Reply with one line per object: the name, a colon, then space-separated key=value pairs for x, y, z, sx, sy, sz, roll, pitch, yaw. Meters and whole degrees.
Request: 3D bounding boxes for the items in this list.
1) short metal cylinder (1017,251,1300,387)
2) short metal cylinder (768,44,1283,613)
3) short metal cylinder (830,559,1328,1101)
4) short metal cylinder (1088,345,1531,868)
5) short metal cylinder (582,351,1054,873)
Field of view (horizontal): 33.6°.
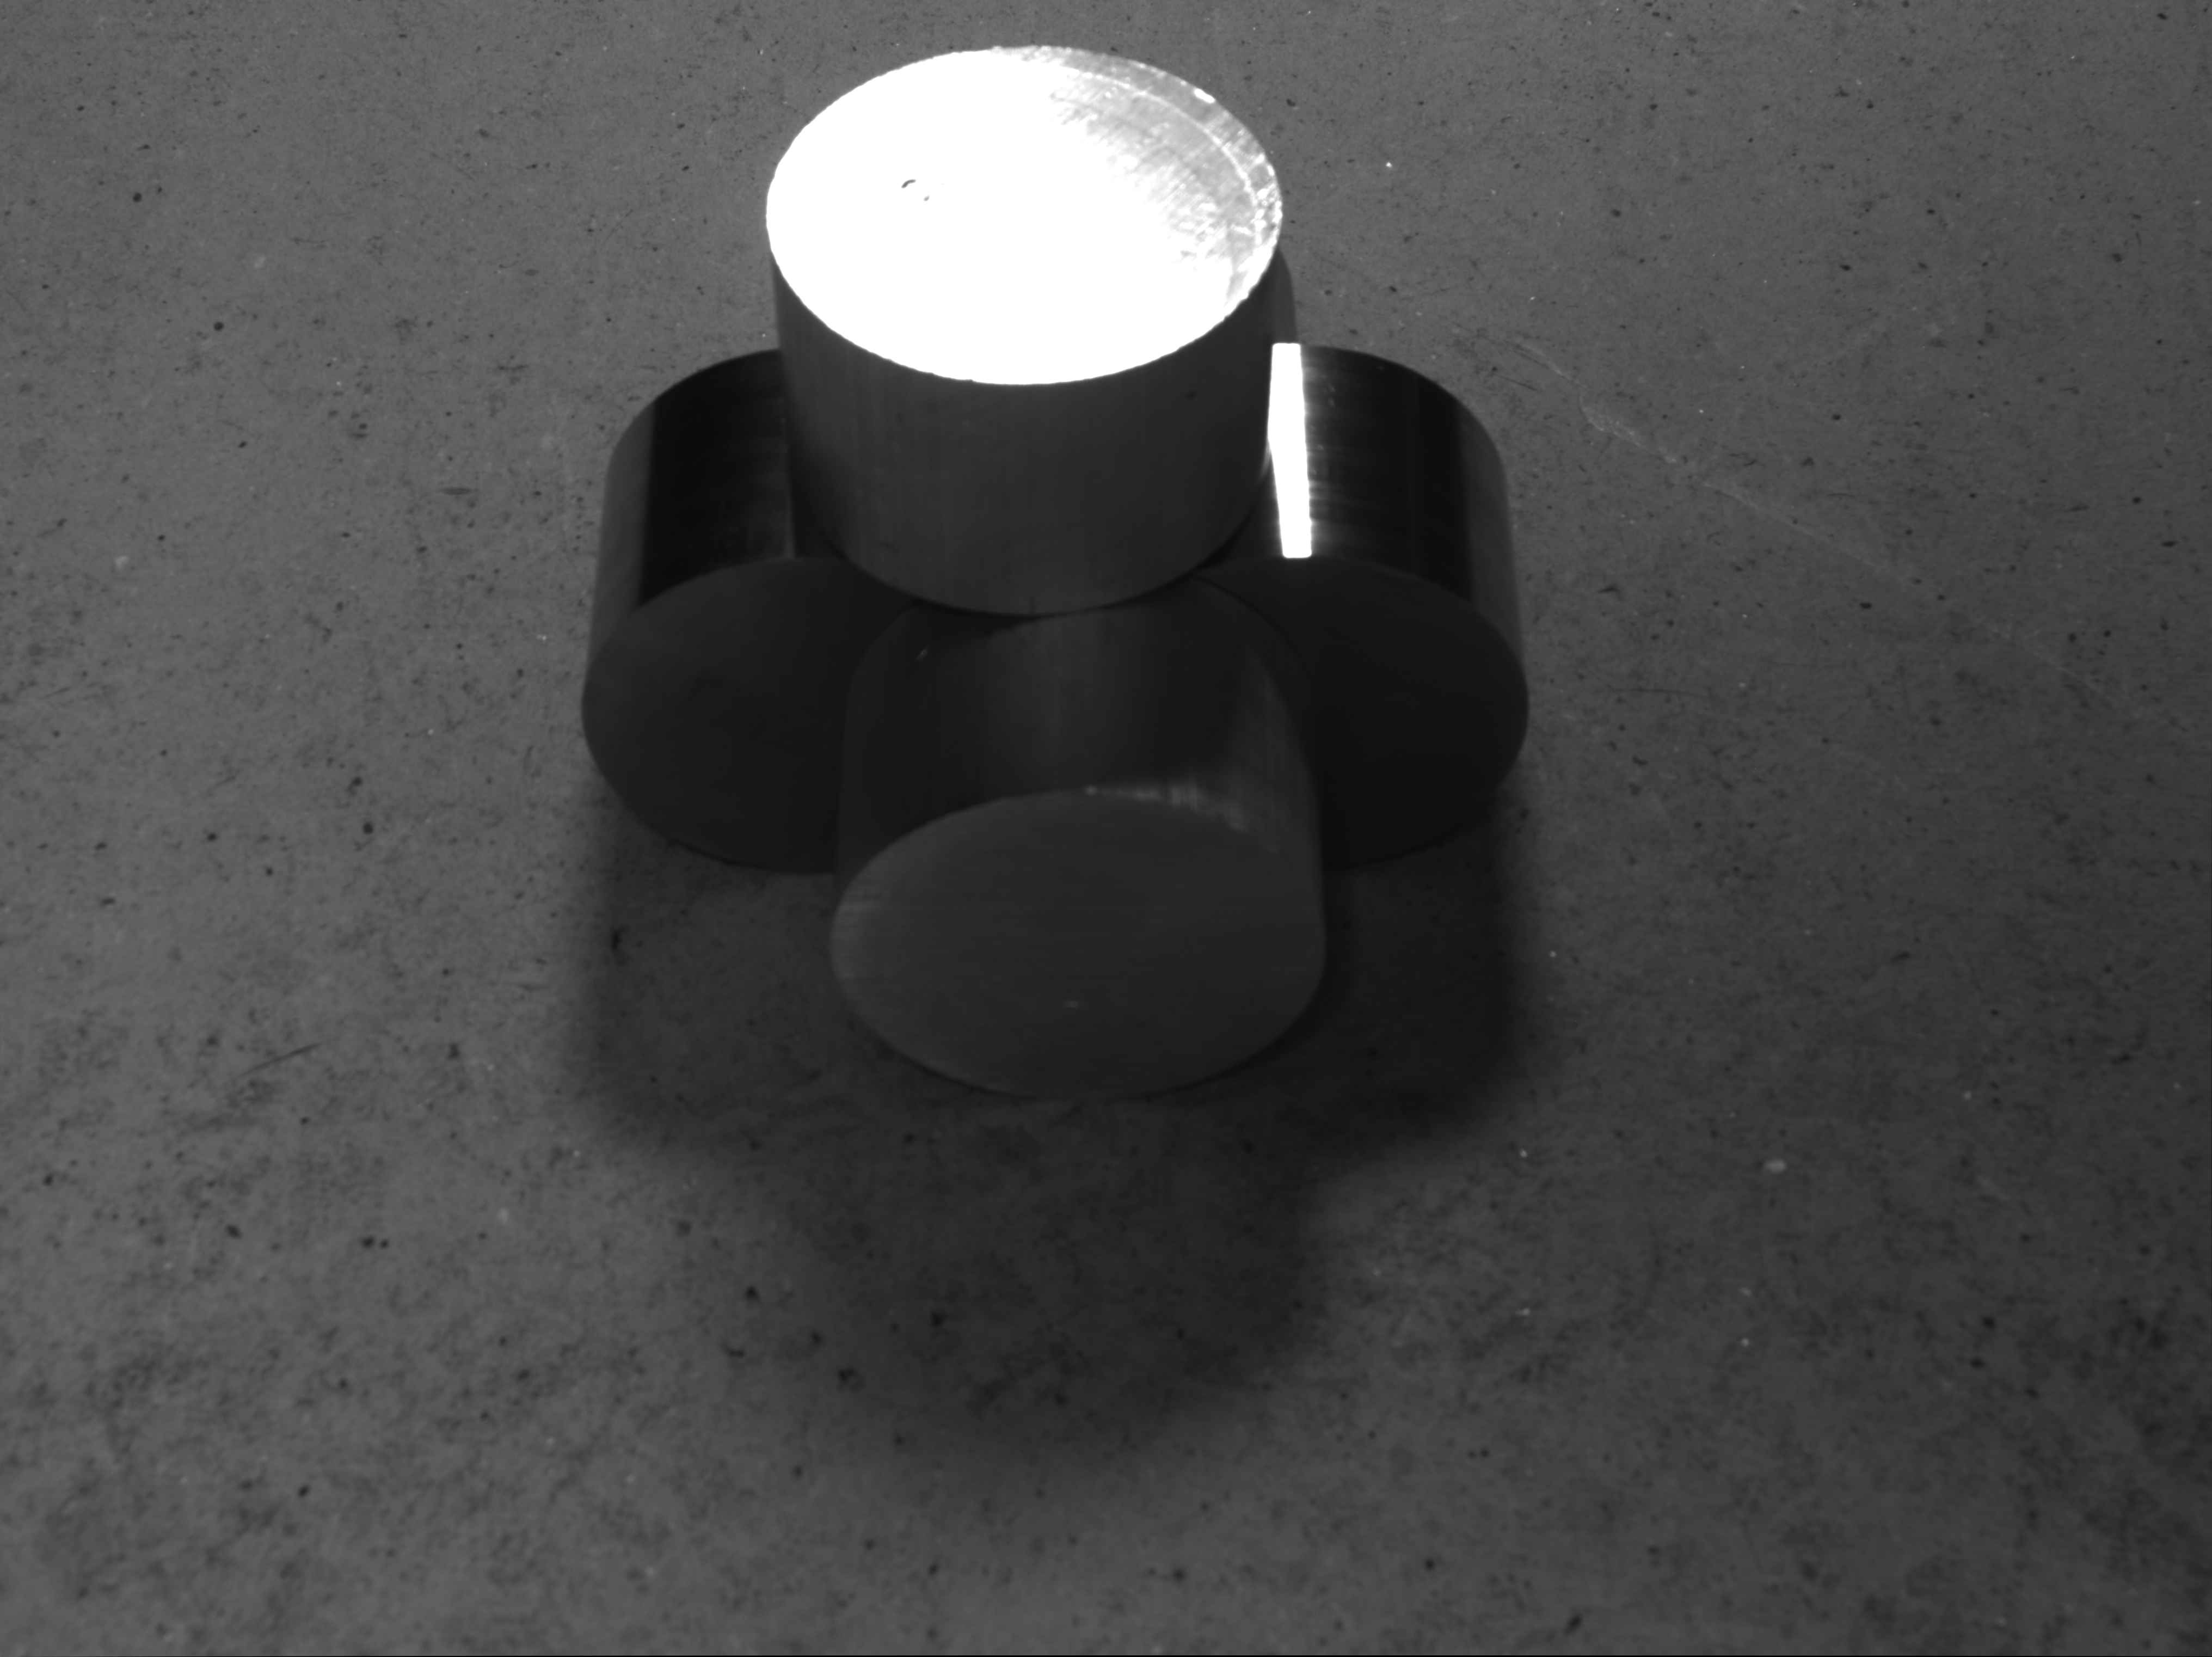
short metal cylinder: x=-0.003 y=-0.077 z=0.671 sx=0.080 sy=0.080 sz=0.050 roll=-1 pitch=50 yaw=-1
short metal cylinder: x=-0.012 y=-0.081 z=0.589 sx=0.080 sy=0.050 sz=0.080 roll=0 pitch=50 yaw=0
short metal cylinder: x=-0.004 y=0.001 z=0.605 sx=0.080 sy=0.080 sz=0.050 roll=0 pitch=50 yaw=0
short metal cylinder: x=0.032 y=-0.037 z=0.638 sx=0.080 sy=0.080 sz=0.050 roll=0 pitch=50 yaw=0
short metal cylinder: x=-0.049 y=-0.037 z=0.638 sx=0.080 sy=0.080 sz=0.050 roll=-1 pitch=50 yaw=-1
